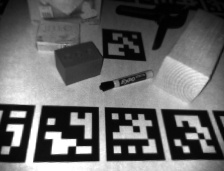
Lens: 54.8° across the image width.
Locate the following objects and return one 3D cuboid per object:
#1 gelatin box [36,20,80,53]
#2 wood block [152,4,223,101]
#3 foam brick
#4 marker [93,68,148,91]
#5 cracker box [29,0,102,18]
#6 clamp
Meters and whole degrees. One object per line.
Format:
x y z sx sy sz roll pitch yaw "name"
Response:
-0.117 -0.109 0.478 0.090 0.030 0.073 0 59 -10 "gelatin box"
0.179 -0.081 0.480 0.089 0.091 0.207 29 55 12 "wood block"
-0.070 -0.047 0.431 0.078 0.051 0.052 -22 65 -22 "foam brick"
0.019 -0.012 0.443 0.122 0.019 0.019 -17 64 -20 "marker"
-0.096 -0.246 0.451 0.165 0.214 0.071 -2 57 -13 "cracker box"
0.129 -0.195 0.571 0.204 0.037 0.164 -27 67 -24 "clamp"
